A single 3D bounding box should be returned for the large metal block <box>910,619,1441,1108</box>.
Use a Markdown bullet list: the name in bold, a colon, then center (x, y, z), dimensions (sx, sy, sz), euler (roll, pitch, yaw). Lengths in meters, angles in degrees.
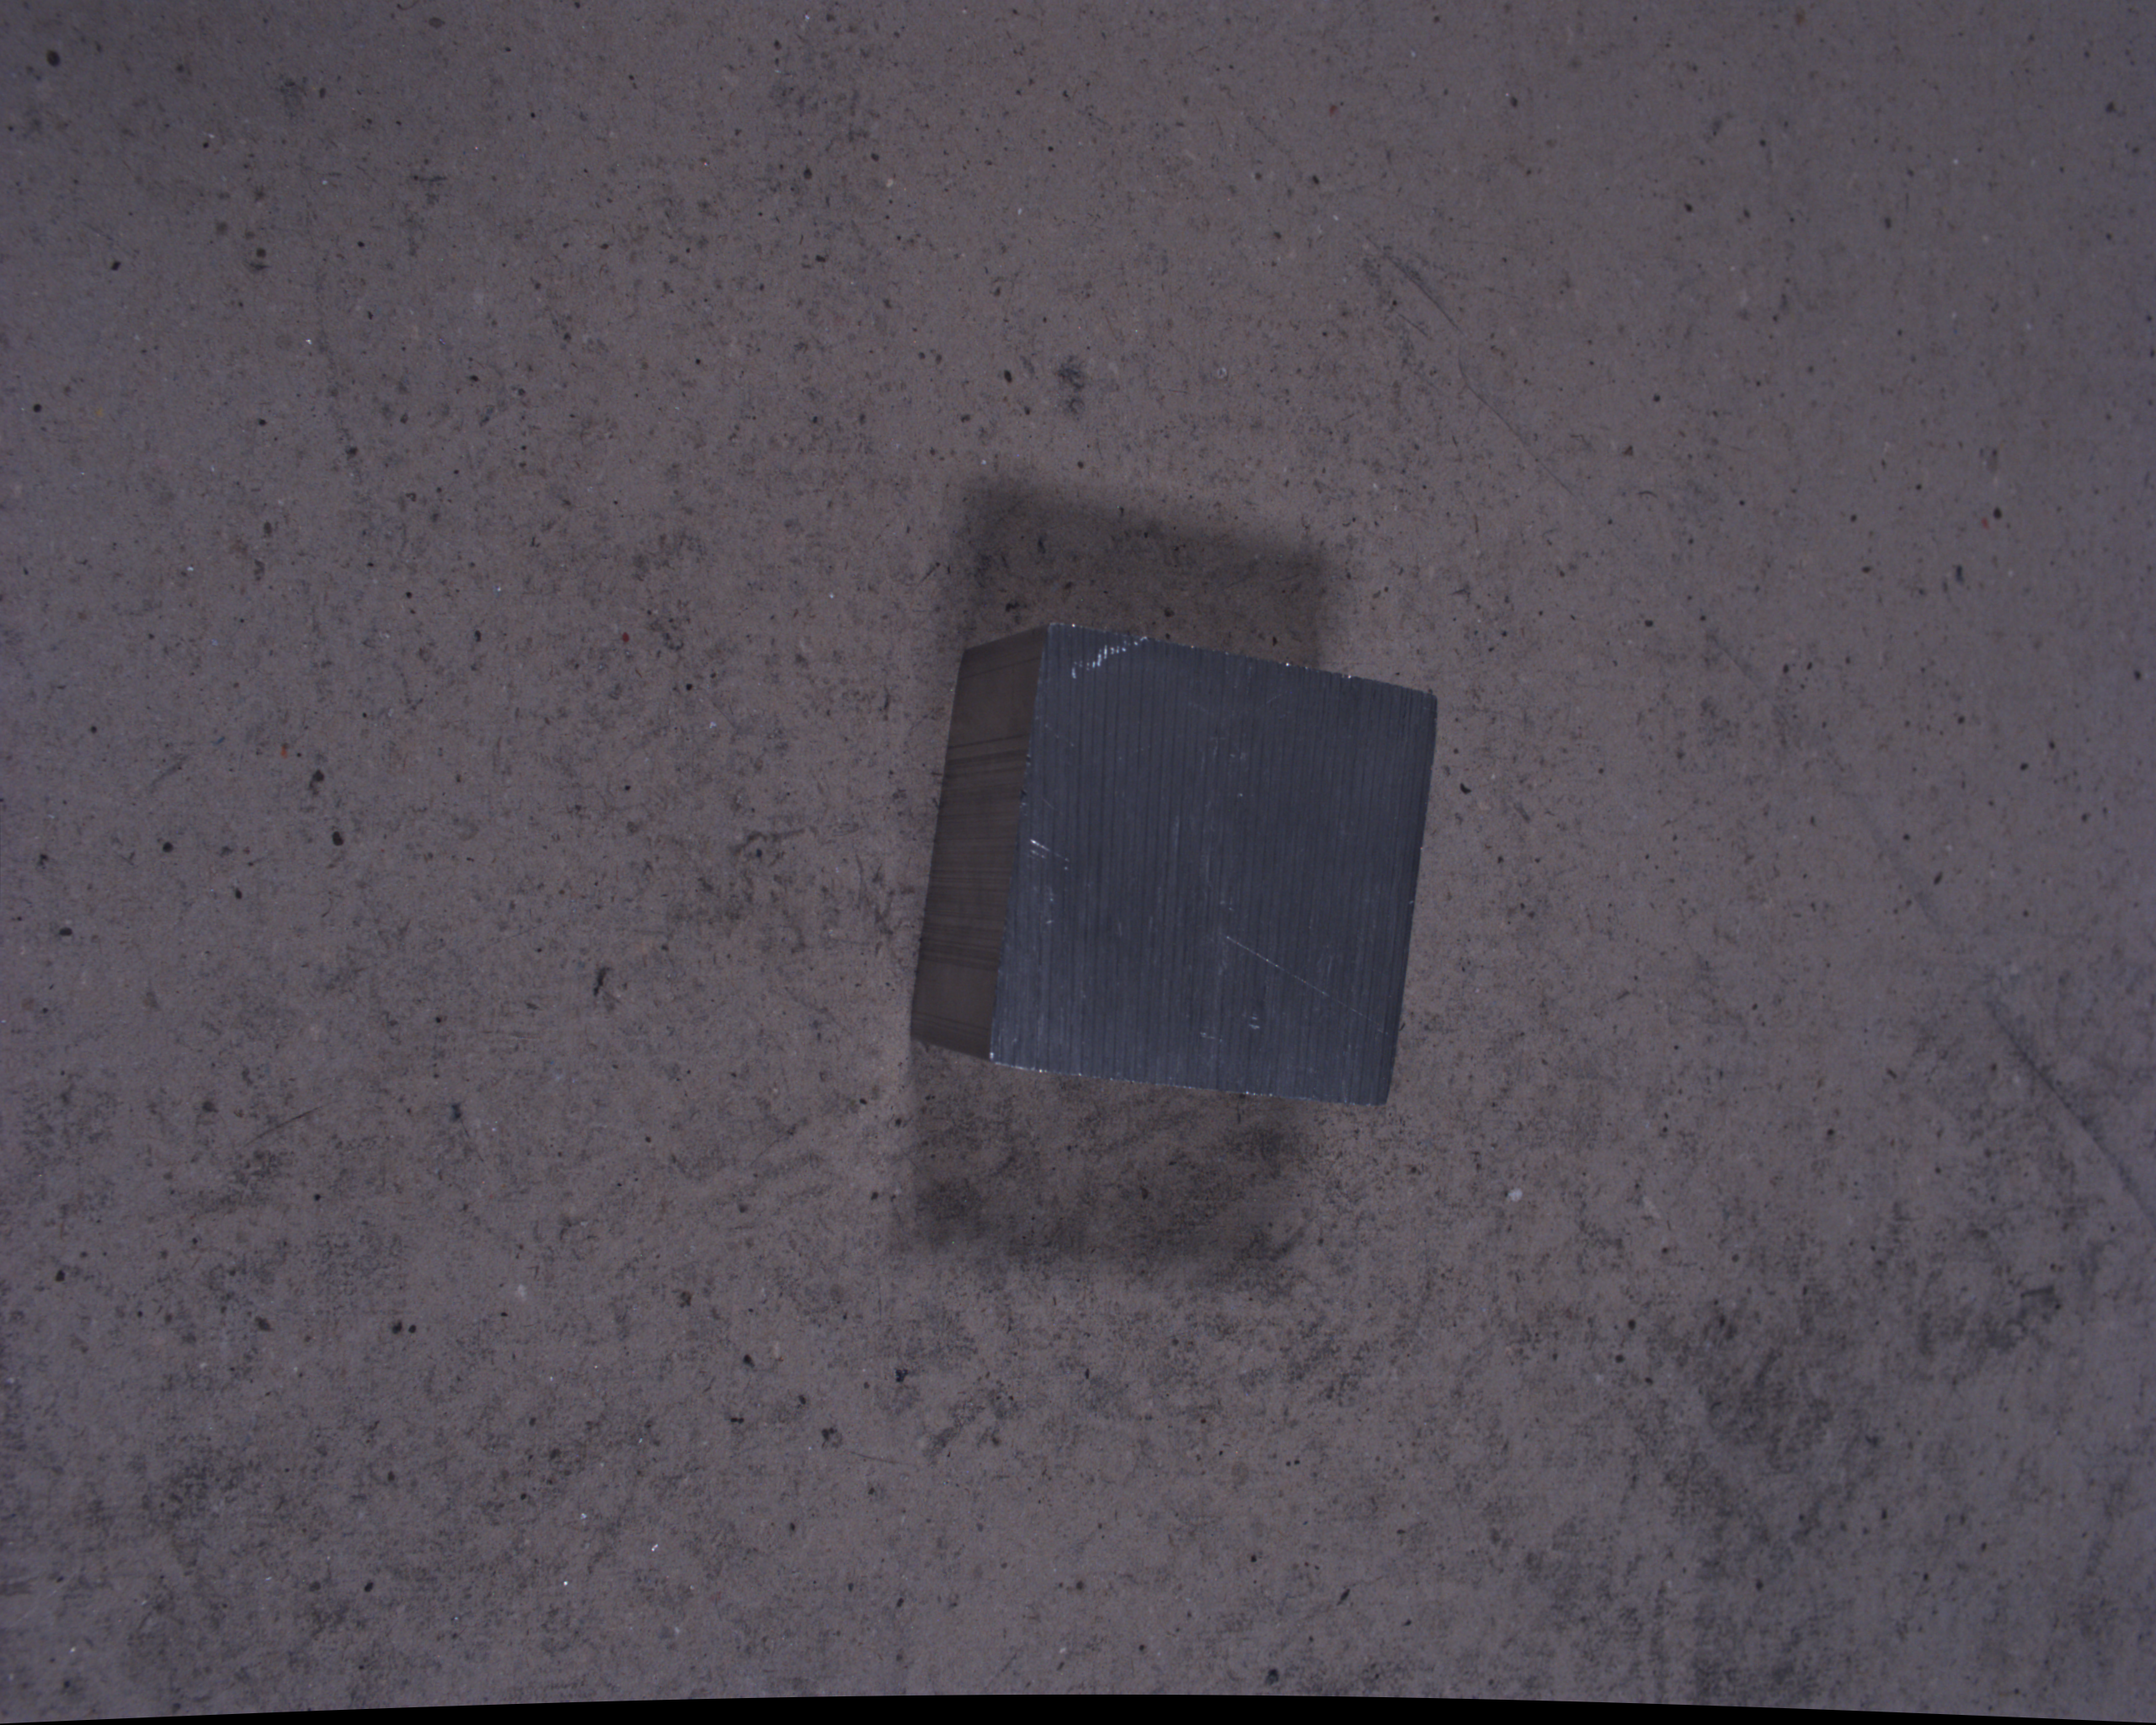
- **large metal block**: center (0.018, 0.001, 0.405), dimensions (0.081, 0.050, 0.080), euler (8, 87, -20)
